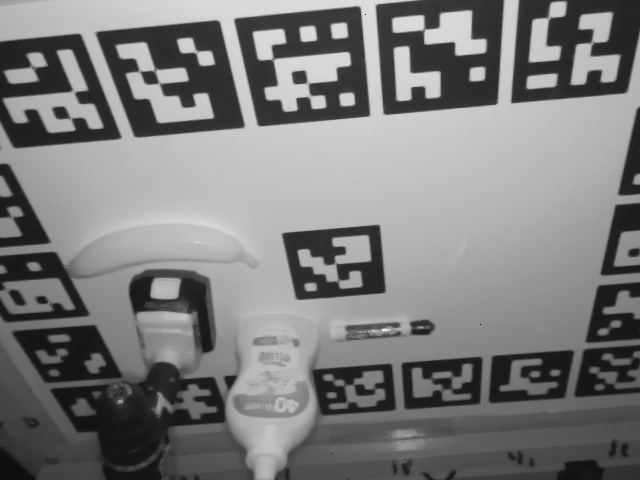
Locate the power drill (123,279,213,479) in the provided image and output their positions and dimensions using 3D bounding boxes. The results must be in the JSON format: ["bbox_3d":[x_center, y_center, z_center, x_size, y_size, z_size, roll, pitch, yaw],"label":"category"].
[{"bbox_3d":[-0.152,0.130,0.704,0.057,0.189,0.182,8,129,-2],"label":"power drill"}]

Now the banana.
[{"bbox_3d":[-0.149,0.002,0.728,0.198,0.039,0.073,1,125,-3],"label":"banana"}]

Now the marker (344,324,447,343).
[{"bbox_3d":[0.089,0.111,0.819,0.121,0.020,0.019,-2,126,2],"label":"marker"}]

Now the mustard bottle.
[{"bbox_3d":[-0.040,0.164,0.750,0.096,0.193,0.058,6,127,-2],"label":"mustard bottle"}]
